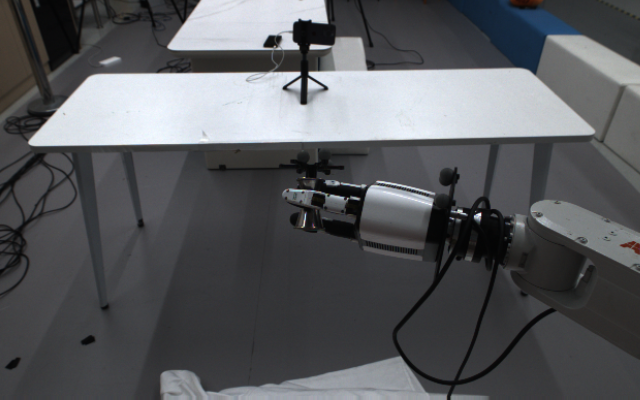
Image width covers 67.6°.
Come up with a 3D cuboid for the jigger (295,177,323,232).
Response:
[{"bbox_3d":[-0.014,0.006,0.656,0.043,0.071,0.043,1,-6,0],"label":"jigger"}]
